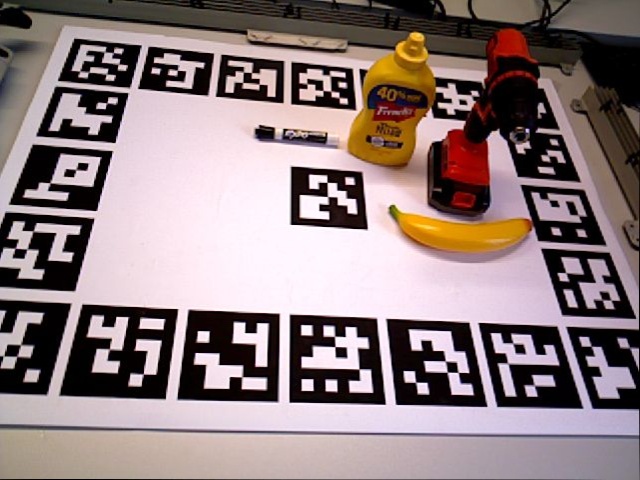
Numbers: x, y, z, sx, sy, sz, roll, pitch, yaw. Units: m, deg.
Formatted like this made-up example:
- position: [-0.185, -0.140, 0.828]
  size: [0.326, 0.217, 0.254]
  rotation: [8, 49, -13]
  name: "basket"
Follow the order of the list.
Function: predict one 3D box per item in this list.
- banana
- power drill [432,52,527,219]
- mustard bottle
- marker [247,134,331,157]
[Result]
- position: [0.177, 0.011, 0.713]
  size: [0.196, 0.039, 0.073]
  rotation: [10, 57, -1]
  name: "banana"
- position: [0.201, -0.115, 0.681]
  size: [0.057, 0.191, 0.181]
  rotation: [16, 53, -2]
  name: "power drill"
- position: [0.093, -0.167, 0.717]
  size: [0.096, 0.196, 0.057]
  rotation: [14, 55, -2]
  name: "mustard bottle"
- position: [-0.045, -0.136, 0.780]
  size: [0.120, 0.020, 0.019]
  rotation: [6, 57, -6]
  name: "marker"
